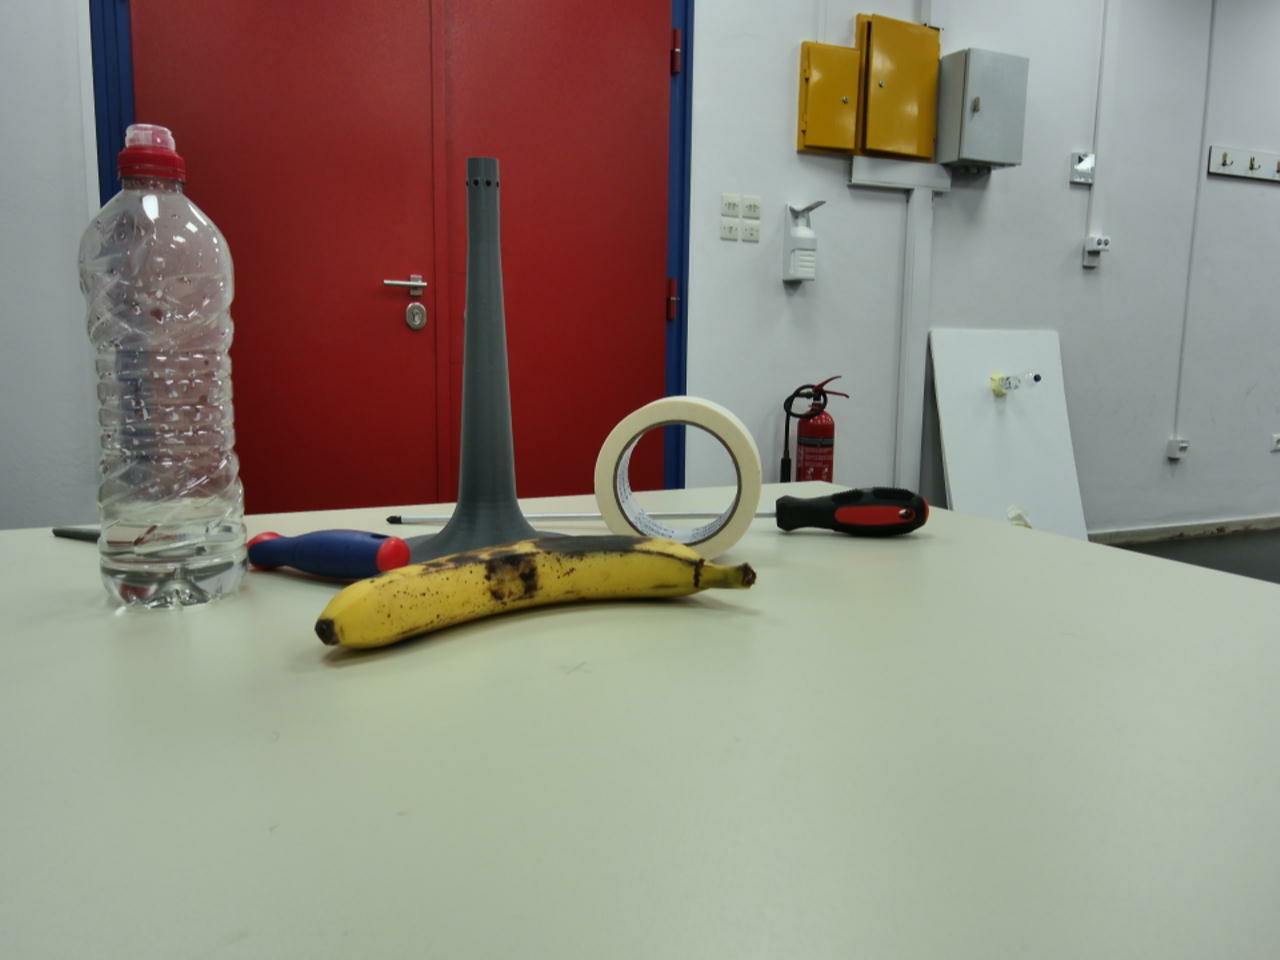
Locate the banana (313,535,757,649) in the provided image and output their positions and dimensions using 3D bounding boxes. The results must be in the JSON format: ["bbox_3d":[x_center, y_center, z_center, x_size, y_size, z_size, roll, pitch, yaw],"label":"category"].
[{"bbox_3d":[-0.055,0.053,0.510,0.222,0.037,0.084,-3,7,-25],"label":"banana"}]
